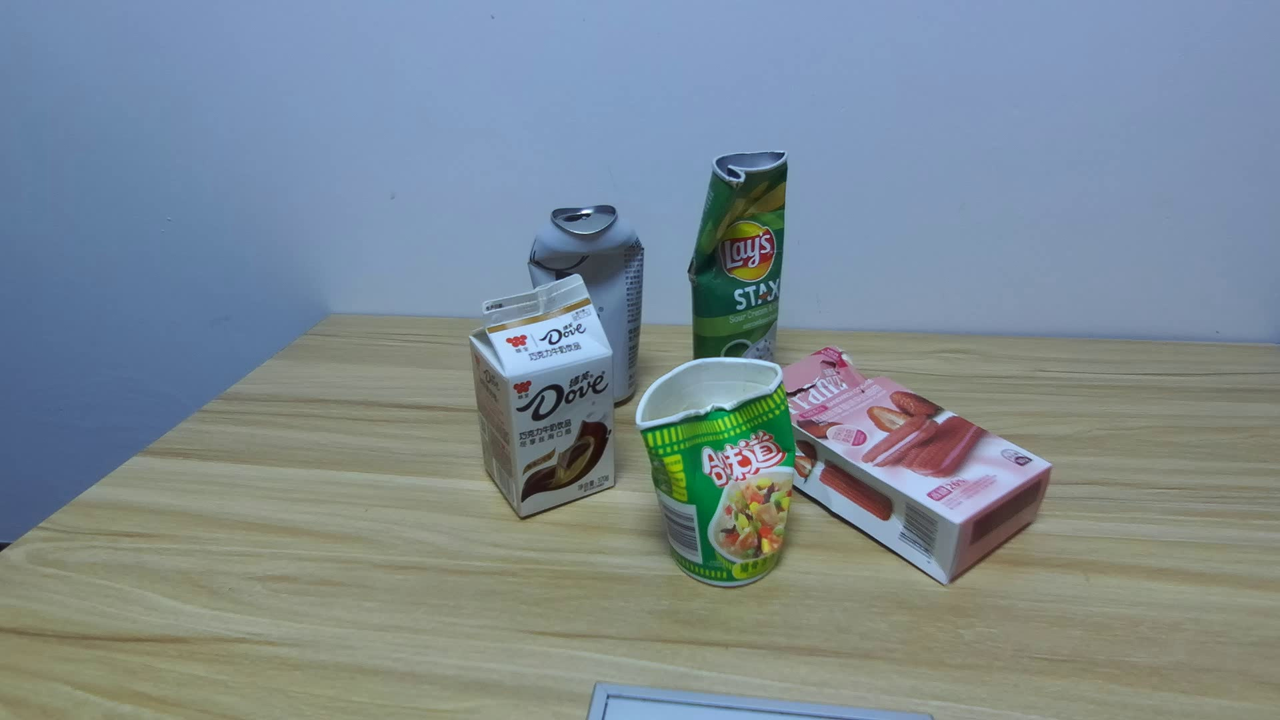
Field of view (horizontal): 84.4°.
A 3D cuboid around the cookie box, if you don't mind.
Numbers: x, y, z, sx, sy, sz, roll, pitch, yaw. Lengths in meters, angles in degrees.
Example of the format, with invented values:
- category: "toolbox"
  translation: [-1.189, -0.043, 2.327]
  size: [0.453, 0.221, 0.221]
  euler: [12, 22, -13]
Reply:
- category: "cookie box"
  translation: [0.161, 0.064, 0.482]
  size: [0.105, 0.059, 0.185]
  euler: [-20, 36, -29]

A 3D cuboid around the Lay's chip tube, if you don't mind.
- category: "Lay's chip tube"
  translation: [0.078, -0.059, 0.562]
  size: [0.069, 0.201, 0.077]
  euler: [4, 29, 11]

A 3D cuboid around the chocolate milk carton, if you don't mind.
- category: "chocolate milk carton"
  translation: [-0.065, 0.018, 0.476]
  size: [0.076, 0.148, 0.073]
  euler: [-14, 30, -27]

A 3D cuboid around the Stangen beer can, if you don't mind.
- category: "Stangen beer can"
  translation: [-0.041, -0.039, 0.575]
  size: [0.065, 0.162, 0.077]
  euler: [19, 32, 40]

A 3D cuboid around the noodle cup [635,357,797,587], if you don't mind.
- category: "noodle cup"
  translation: [0.050, 0.065, 0.414]
  size: [0.083, 0.122, 0.075]
  euler: [-10, 19, 6]
